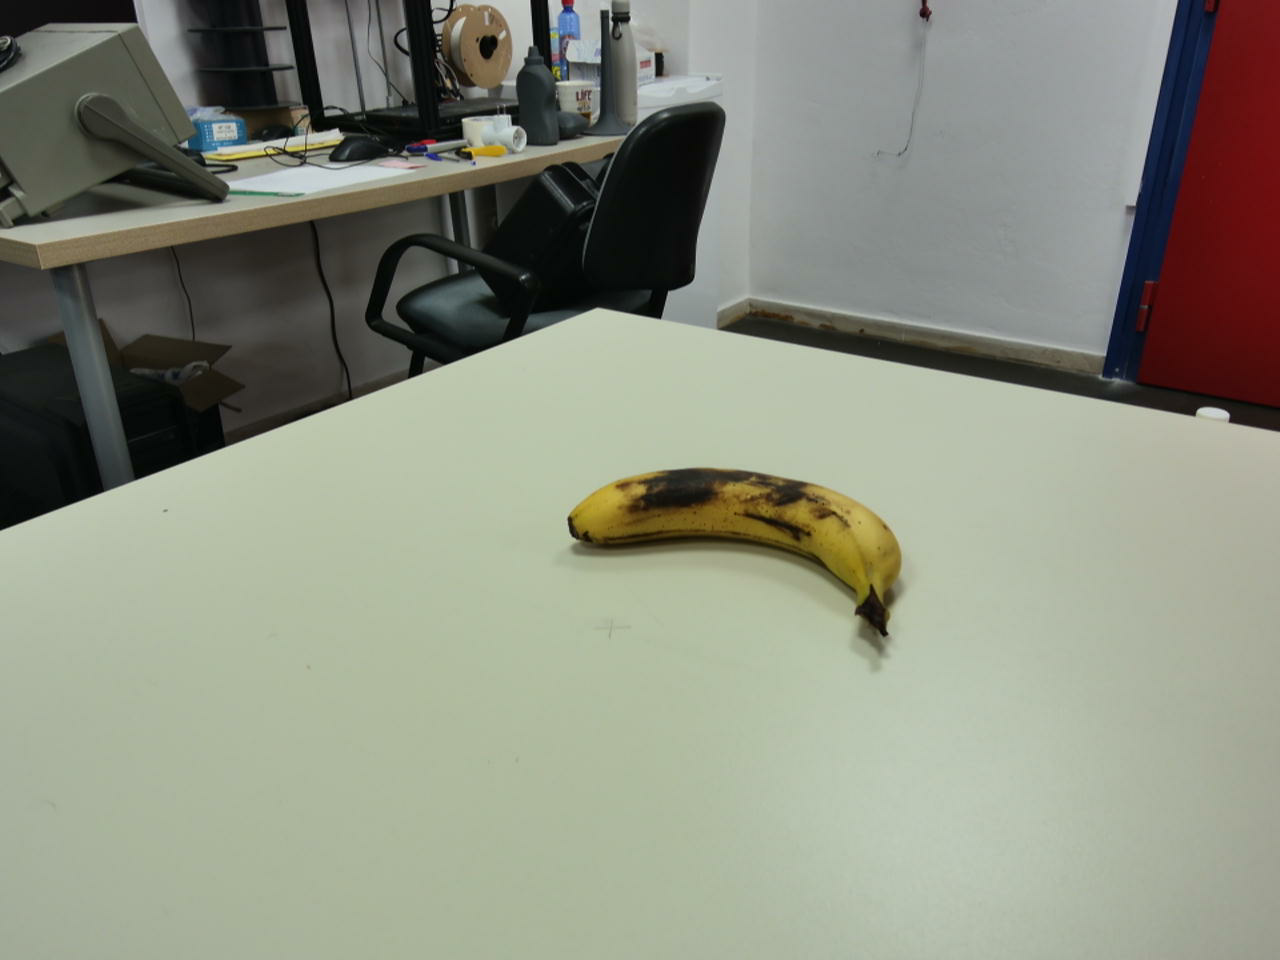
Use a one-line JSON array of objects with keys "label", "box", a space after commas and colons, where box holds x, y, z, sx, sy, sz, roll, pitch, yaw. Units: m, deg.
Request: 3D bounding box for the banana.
[{"label": "banana", "box": [0.059, 0.026, 0.532, 0.187, 0.039, 0.094, 16, 29, 32]}]
